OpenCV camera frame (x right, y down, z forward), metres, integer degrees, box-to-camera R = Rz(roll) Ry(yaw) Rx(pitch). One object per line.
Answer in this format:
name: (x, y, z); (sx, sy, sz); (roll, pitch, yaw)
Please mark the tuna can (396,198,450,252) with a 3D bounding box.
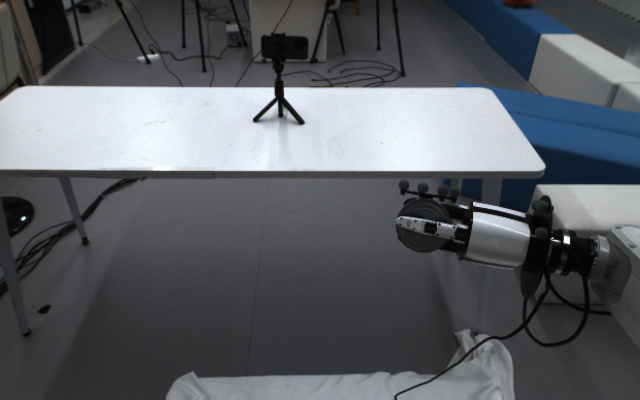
tuna can: (0.165, 0.035, 0.766); (0.085, 0.085, 0.034); (11, 2, 12)
